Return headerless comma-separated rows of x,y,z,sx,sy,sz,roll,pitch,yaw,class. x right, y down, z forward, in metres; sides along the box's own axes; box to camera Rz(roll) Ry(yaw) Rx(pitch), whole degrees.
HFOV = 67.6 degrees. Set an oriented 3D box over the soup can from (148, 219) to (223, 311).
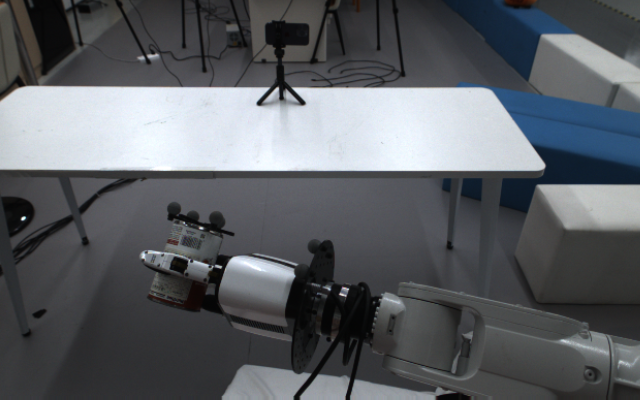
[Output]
-0.168,0.085,0.614,0.067,0.067,0.101,13,77,15,soup can
